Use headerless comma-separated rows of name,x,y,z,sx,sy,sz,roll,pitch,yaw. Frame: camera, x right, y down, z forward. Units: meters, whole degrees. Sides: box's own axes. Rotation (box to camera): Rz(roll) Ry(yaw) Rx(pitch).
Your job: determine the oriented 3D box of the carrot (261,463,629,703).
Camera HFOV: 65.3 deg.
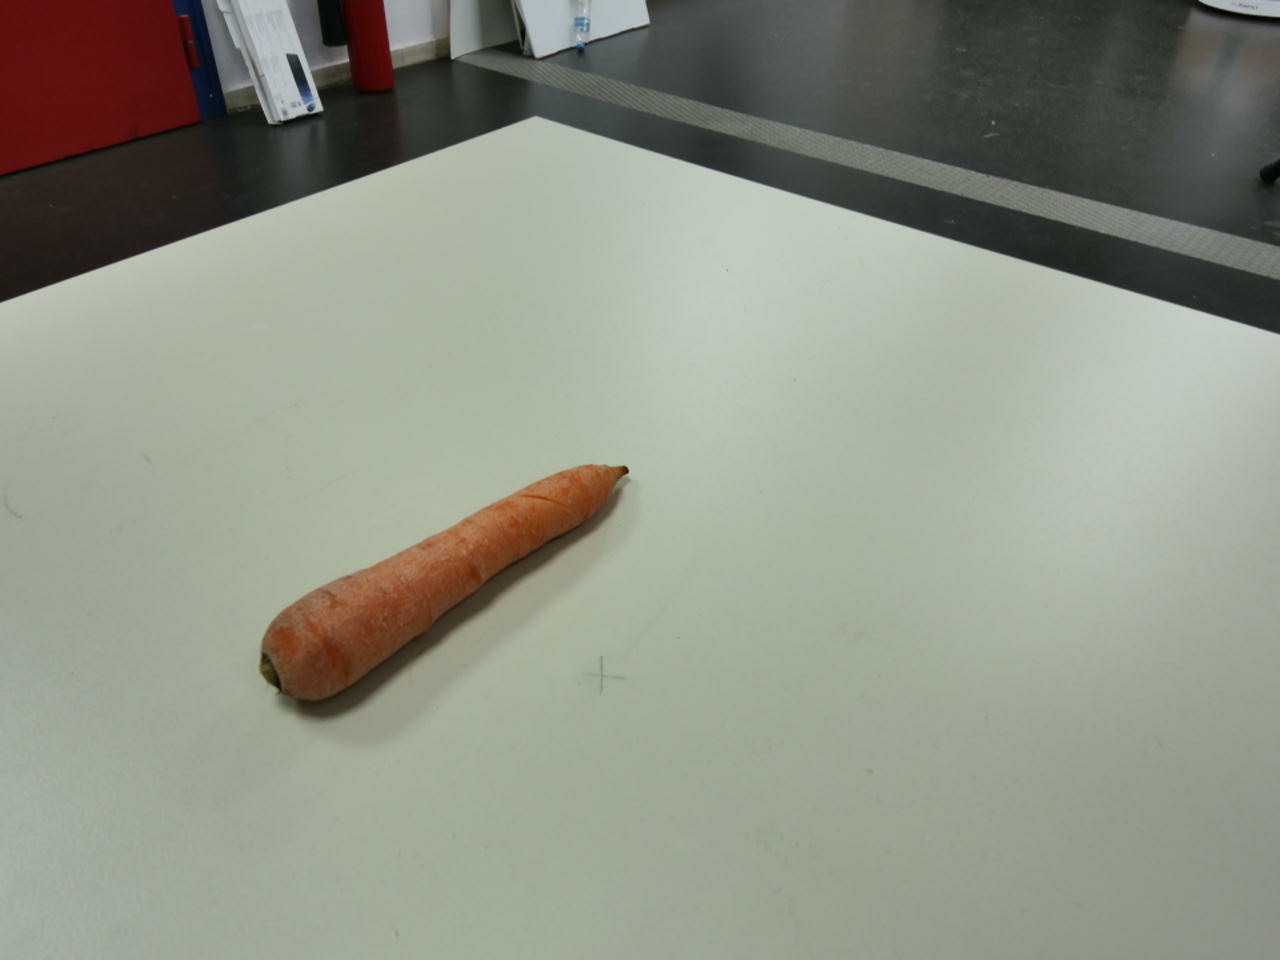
carrot,-0.072,0.028,0.420,0.039,0.041,0.196,26,43,30
